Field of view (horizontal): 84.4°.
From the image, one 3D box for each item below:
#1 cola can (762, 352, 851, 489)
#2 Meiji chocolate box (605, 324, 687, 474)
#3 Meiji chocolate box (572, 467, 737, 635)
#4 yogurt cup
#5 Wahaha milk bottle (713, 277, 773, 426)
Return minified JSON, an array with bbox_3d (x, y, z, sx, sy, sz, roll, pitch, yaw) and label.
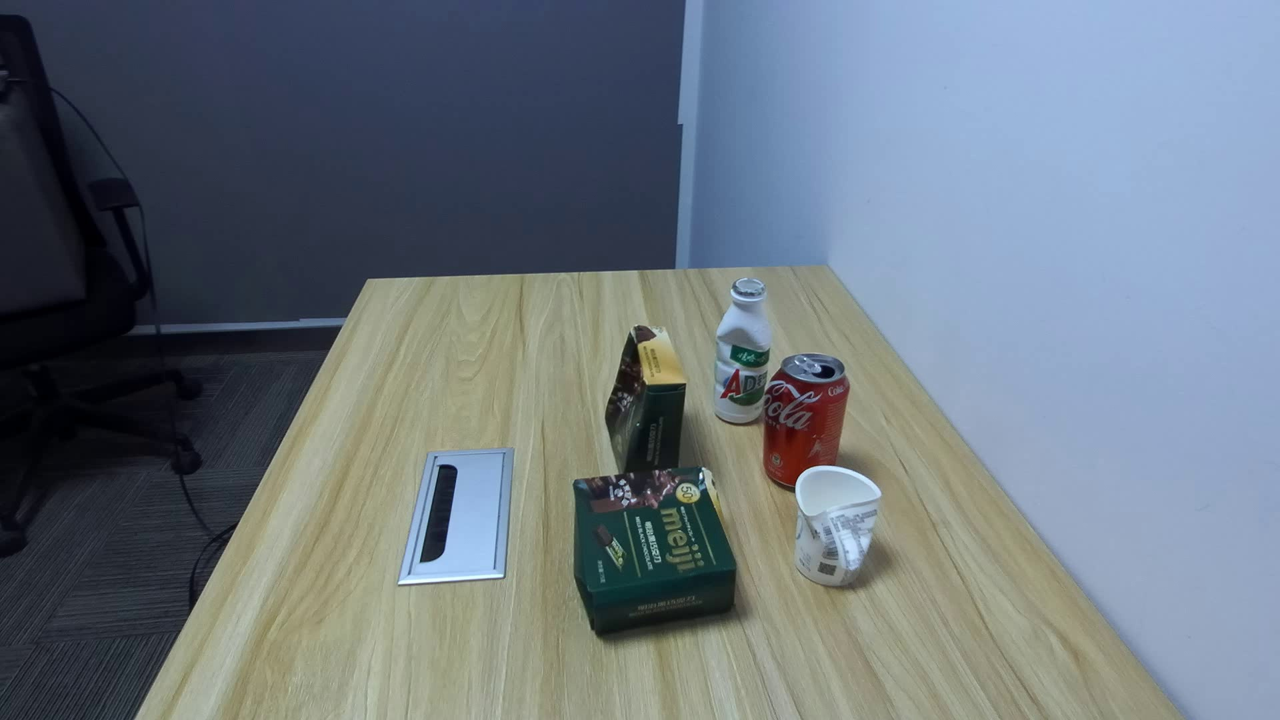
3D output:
[{"bbox_3d":[0.146,0.055,0.627,0.072,0.117,0.065,-7,34,-14],"label":"cola can"},{"bbox_3d":[0.007,0.040,0.650,0.052,0.117,0.117,2,30,-14],"label":"Meiji chocolate box"},{"bbox_3d":[0.009,0.143,0.542,0.123,0.058,0.115,-6,36,-8],"label":"Meiji chocolate box"},{"bbox_3d":[0.148,0.130,0.549,0.067,0.070,0.067,-2,32,2],"label":"yogurt cup"},{"bbox_3d":[0.102,-0.008,0.695,0.056,0.148,0.056,1,35,0],"label":"Wahaha milk bottle"}]
